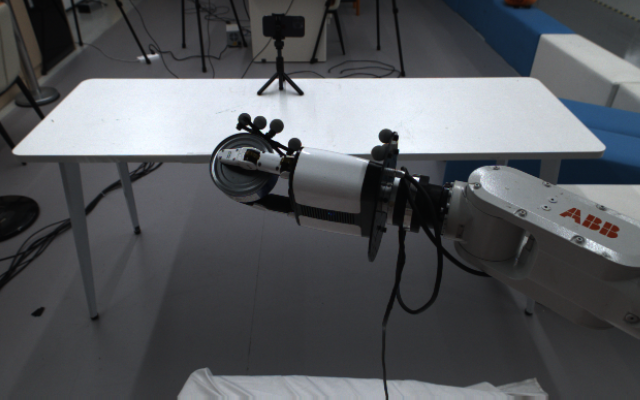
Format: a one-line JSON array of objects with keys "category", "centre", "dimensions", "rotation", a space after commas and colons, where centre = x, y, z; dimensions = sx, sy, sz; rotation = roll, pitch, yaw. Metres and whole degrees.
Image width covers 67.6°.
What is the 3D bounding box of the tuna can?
[{"category": "tuna can", "centre": [-0.096, -0.041, 0.626], "dimensions": [0.085, 0.034, 0.085], "rotation": [-2, 71, 6]}]
